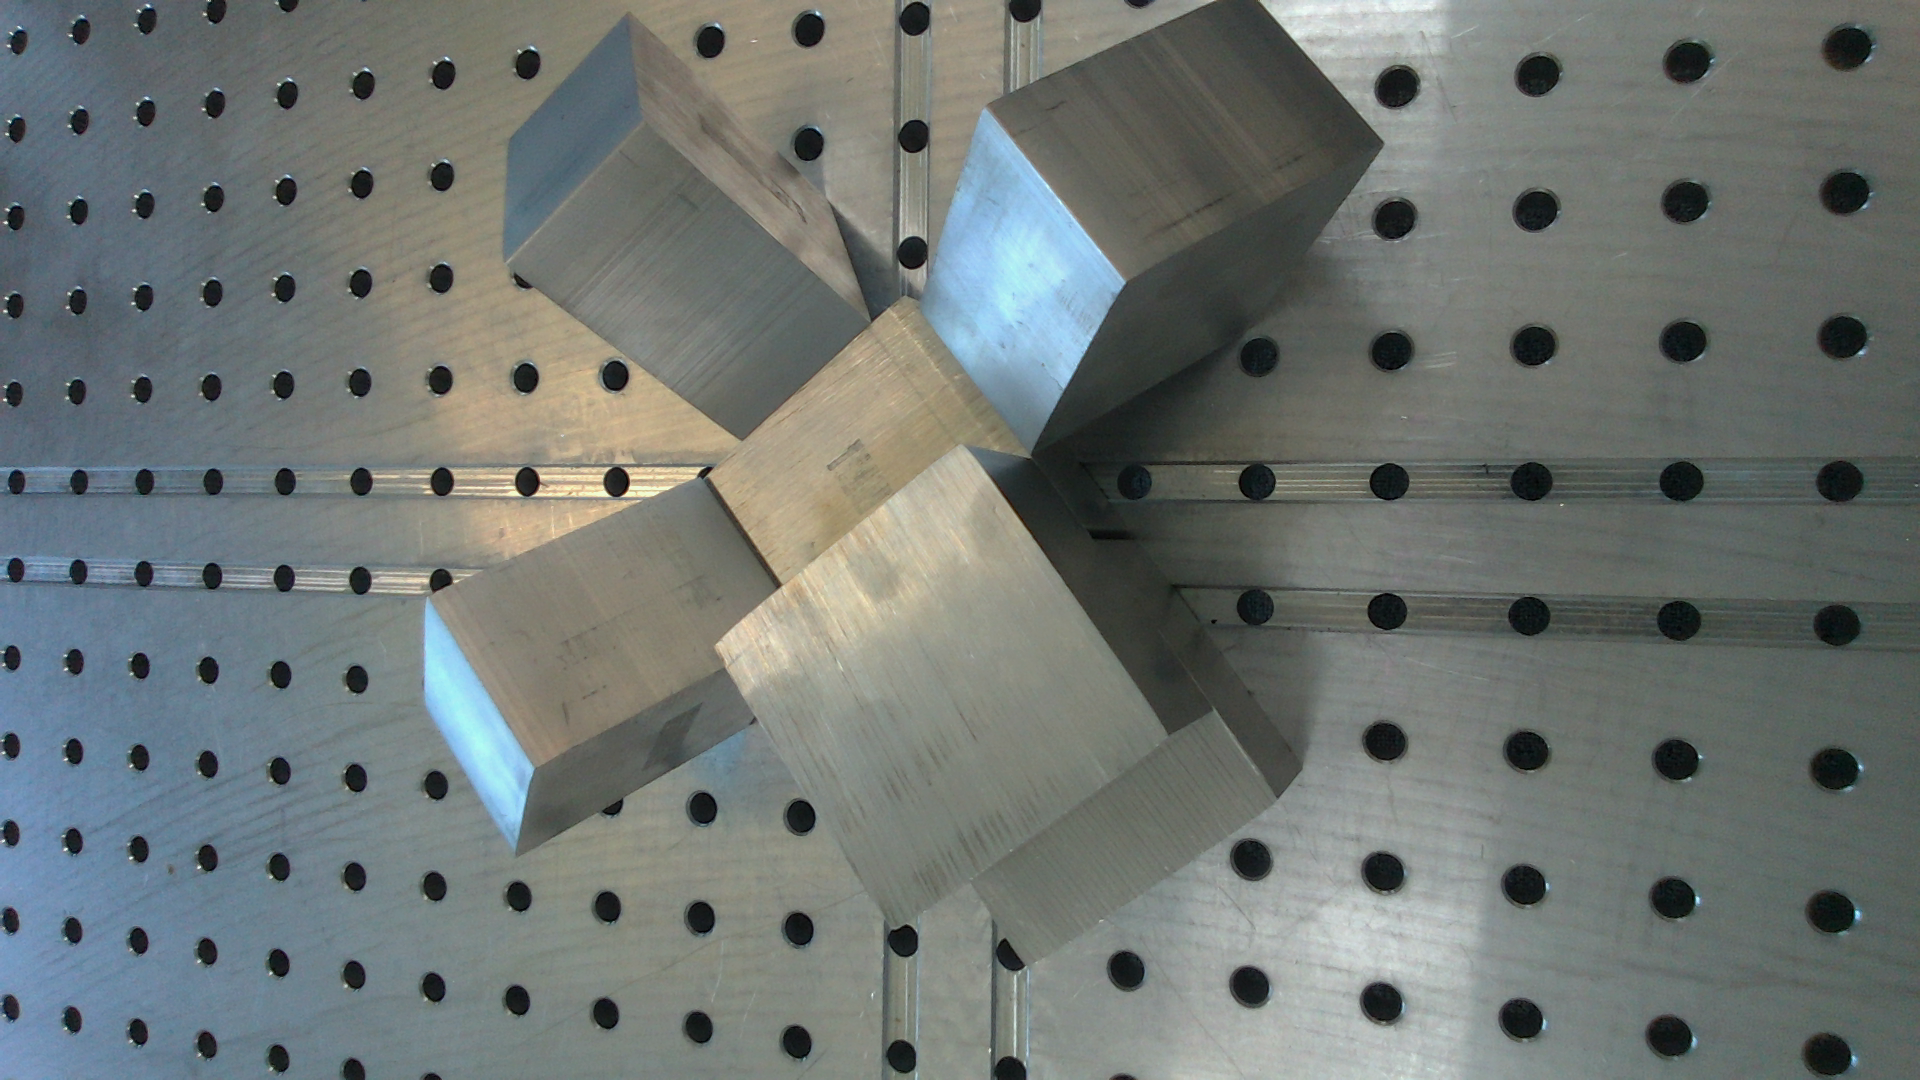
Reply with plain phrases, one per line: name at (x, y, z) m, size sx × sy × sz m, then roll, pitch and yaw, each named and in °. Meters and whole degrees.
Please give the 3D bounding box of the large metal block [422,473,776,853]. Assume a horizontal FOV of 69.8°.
large metal block at (-0.102, 0.036, 0.390) m, size 0.050 × 0.080 × 0.080 m, roll 54°, pitch 148°, yaw 13°

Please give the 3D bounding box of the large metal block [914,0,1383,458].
large metal block at (0.042, -0.076, 0.337) m, size 0.080 × 0.080 × 0.050 m, roll -31°, pitch 76°, yaw -23°

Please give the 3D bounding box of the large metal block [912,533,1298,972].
large metal block at (0.033, 0.055, 0.373) m, size 0.080 × 0.050 × 0.080 m, roll -38°, pitch 77°, yaw 15°

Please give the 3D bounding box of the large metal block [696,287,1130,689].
large metal block at (-0.013, -0.011, 0.390) m, size 0.080 × 0.050 × 0.080 m, roll -40°, pitch 77°, yaw 16°

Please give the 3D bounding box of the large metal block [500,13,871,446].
large metal block at (-0.077, -0.086, 0.380) m, size 0.050 × 0.080 × 0.080 m, roll -40°, pitch 38°, yaw 16°

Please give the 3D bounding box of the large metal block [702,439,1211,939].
large metal block at (0.000, 0.034, 0.330) m, size 0.080 × 0.050 × 0.080 m, roll -39°, pitch 78°, yaw 15°
